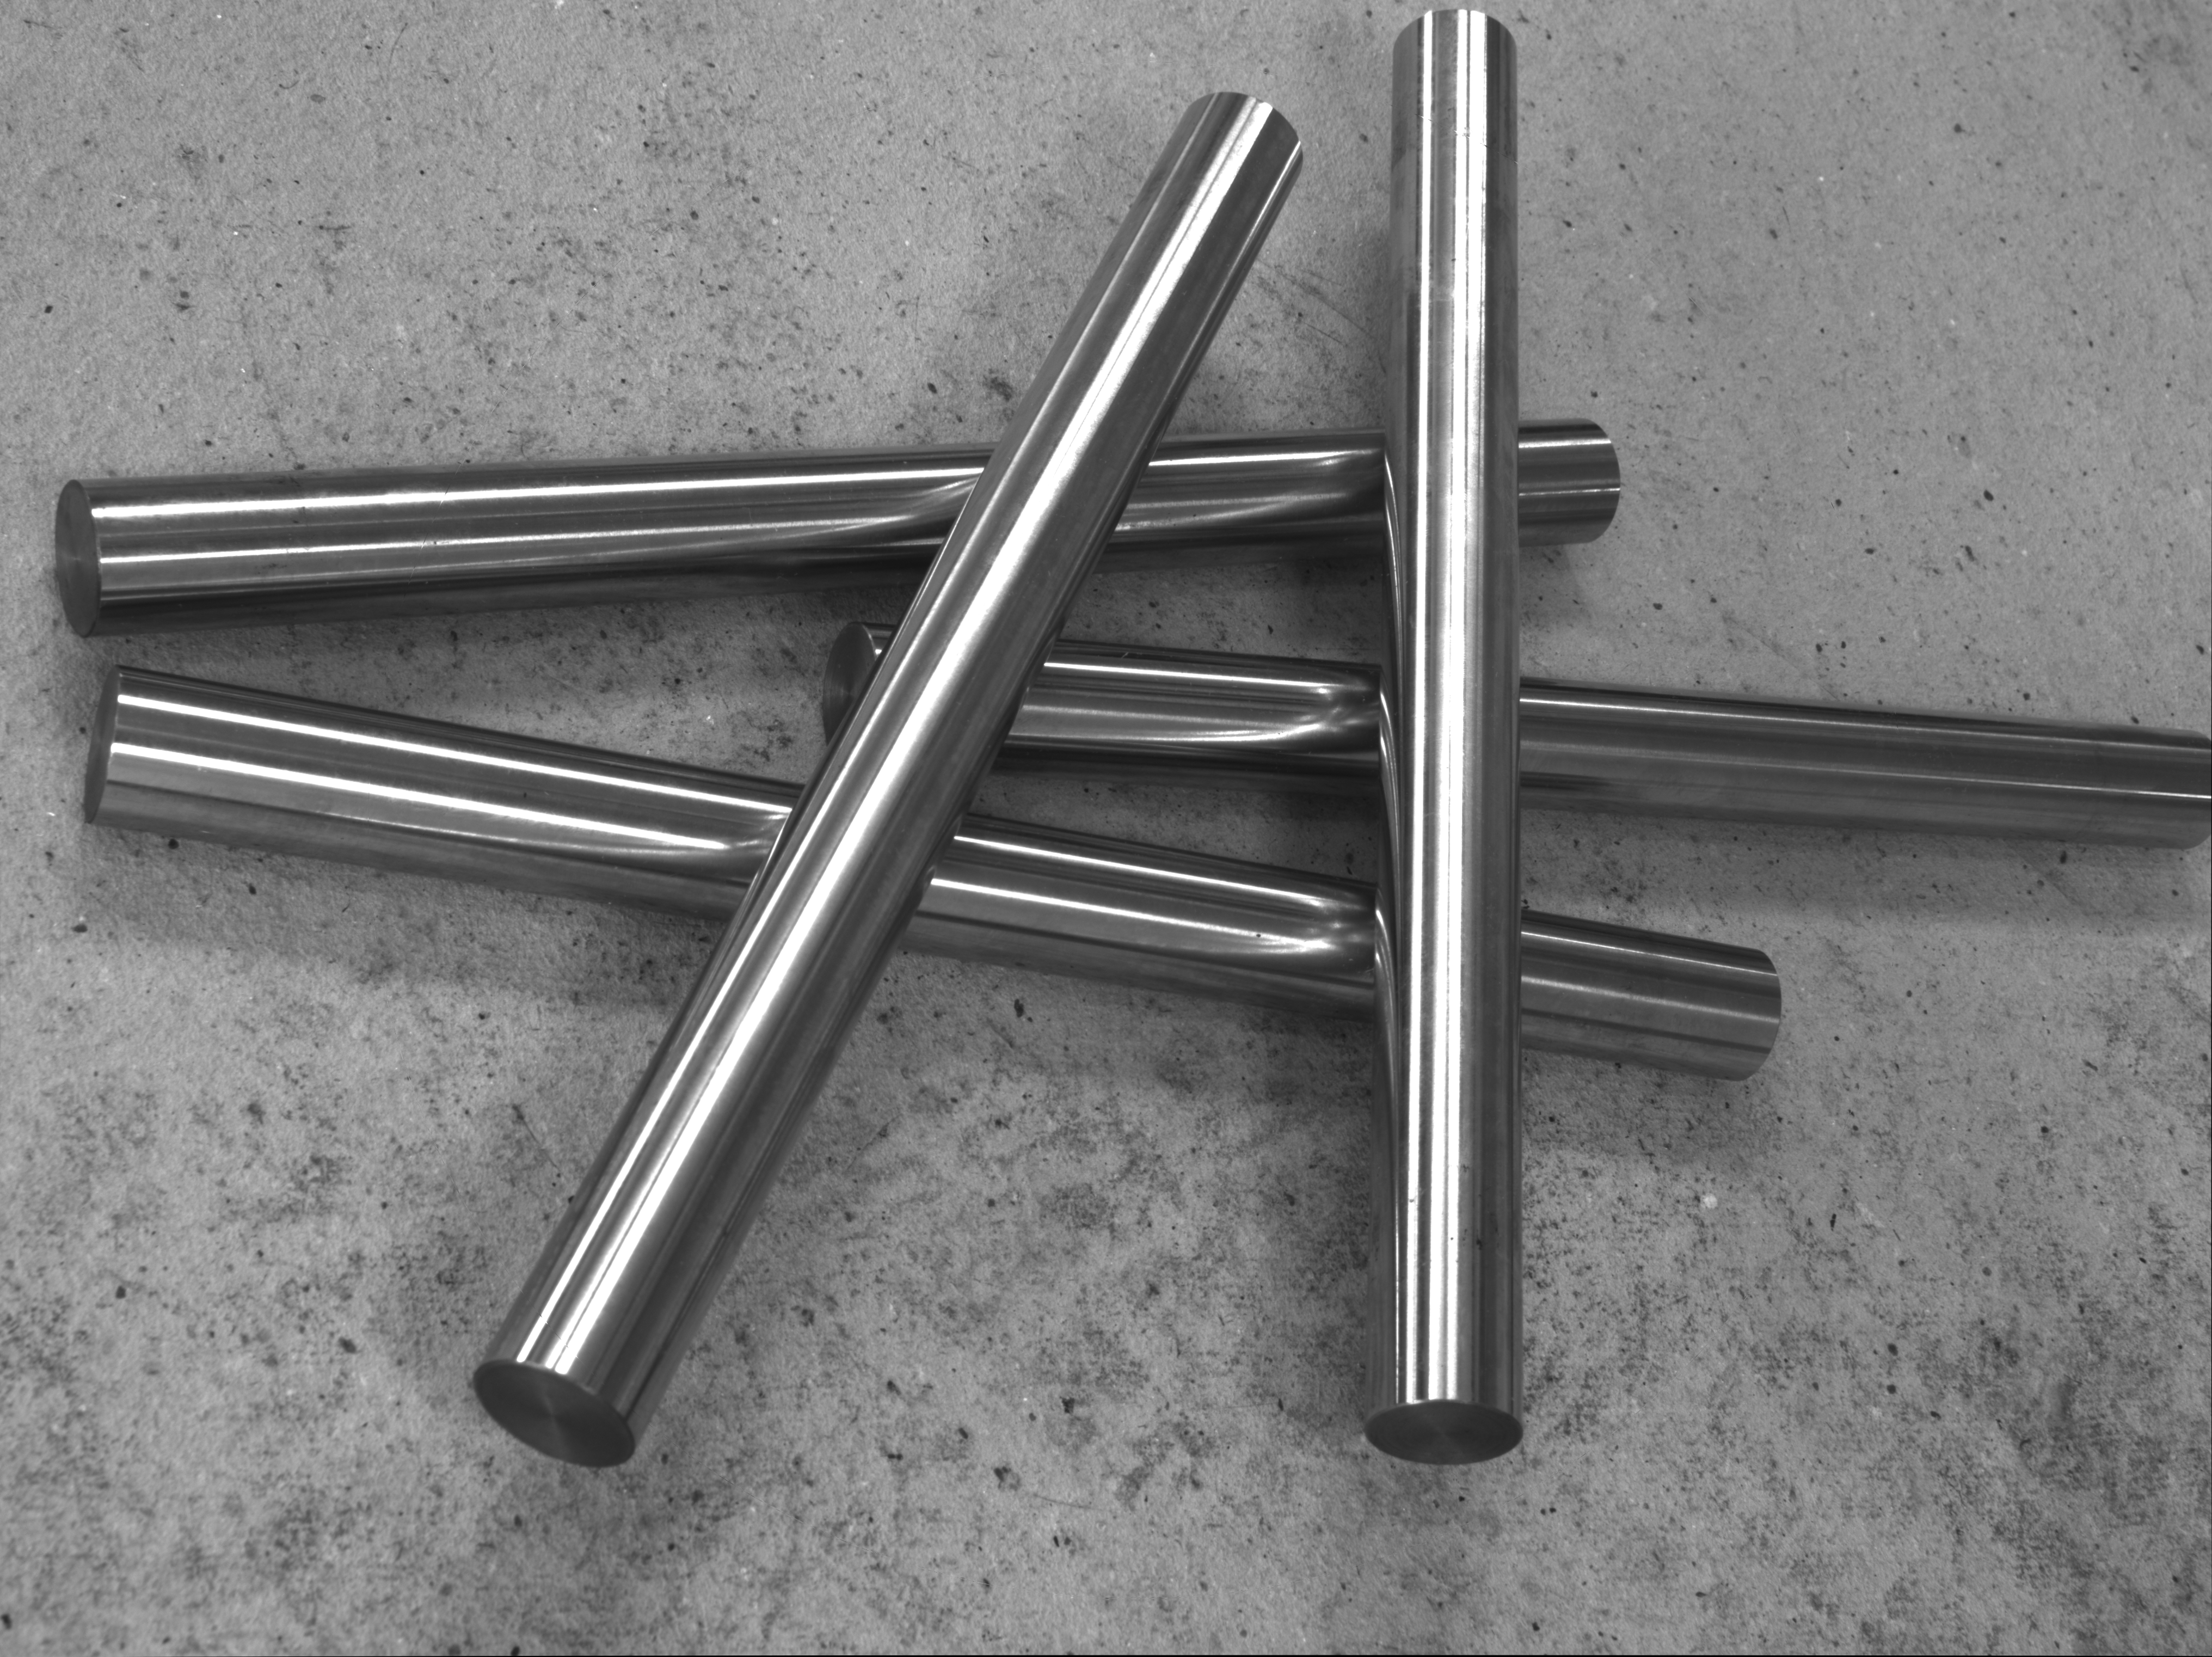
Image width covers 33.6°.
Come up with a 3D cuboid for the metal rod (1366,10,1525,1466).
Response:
[{"bbox_3d":[0.062,-0.030,0.659,0.025,0.025,0.300,16,55,-19],"label":"metal rod"}]

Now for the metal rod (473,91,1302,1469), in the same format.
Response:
[{"bbox_3d":[-0.026,-0.024,0.608,0.025,0.025,0.300,32,52,-7],"label":"metal rod"}]

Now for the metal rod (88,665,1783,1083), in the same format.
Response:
[{"bbox_3d":[-0.018,0.011,0.622,0.301,0.025,0.025,10,57,-23],"label":"metal rod"}]

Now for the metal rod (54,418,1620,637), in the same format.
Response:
[{"bbox_3d":[-0.034,-0.056,0.655,0.301,0.025,0.025,-6,65,-31],"label":"metal rod"}]

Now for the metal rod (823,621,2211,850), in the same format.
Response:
[{"bbox_3d":[0.091,-0.016,0.697,0.301,0.025,0.025,3,60,-27],"label":"metal rod"}]
